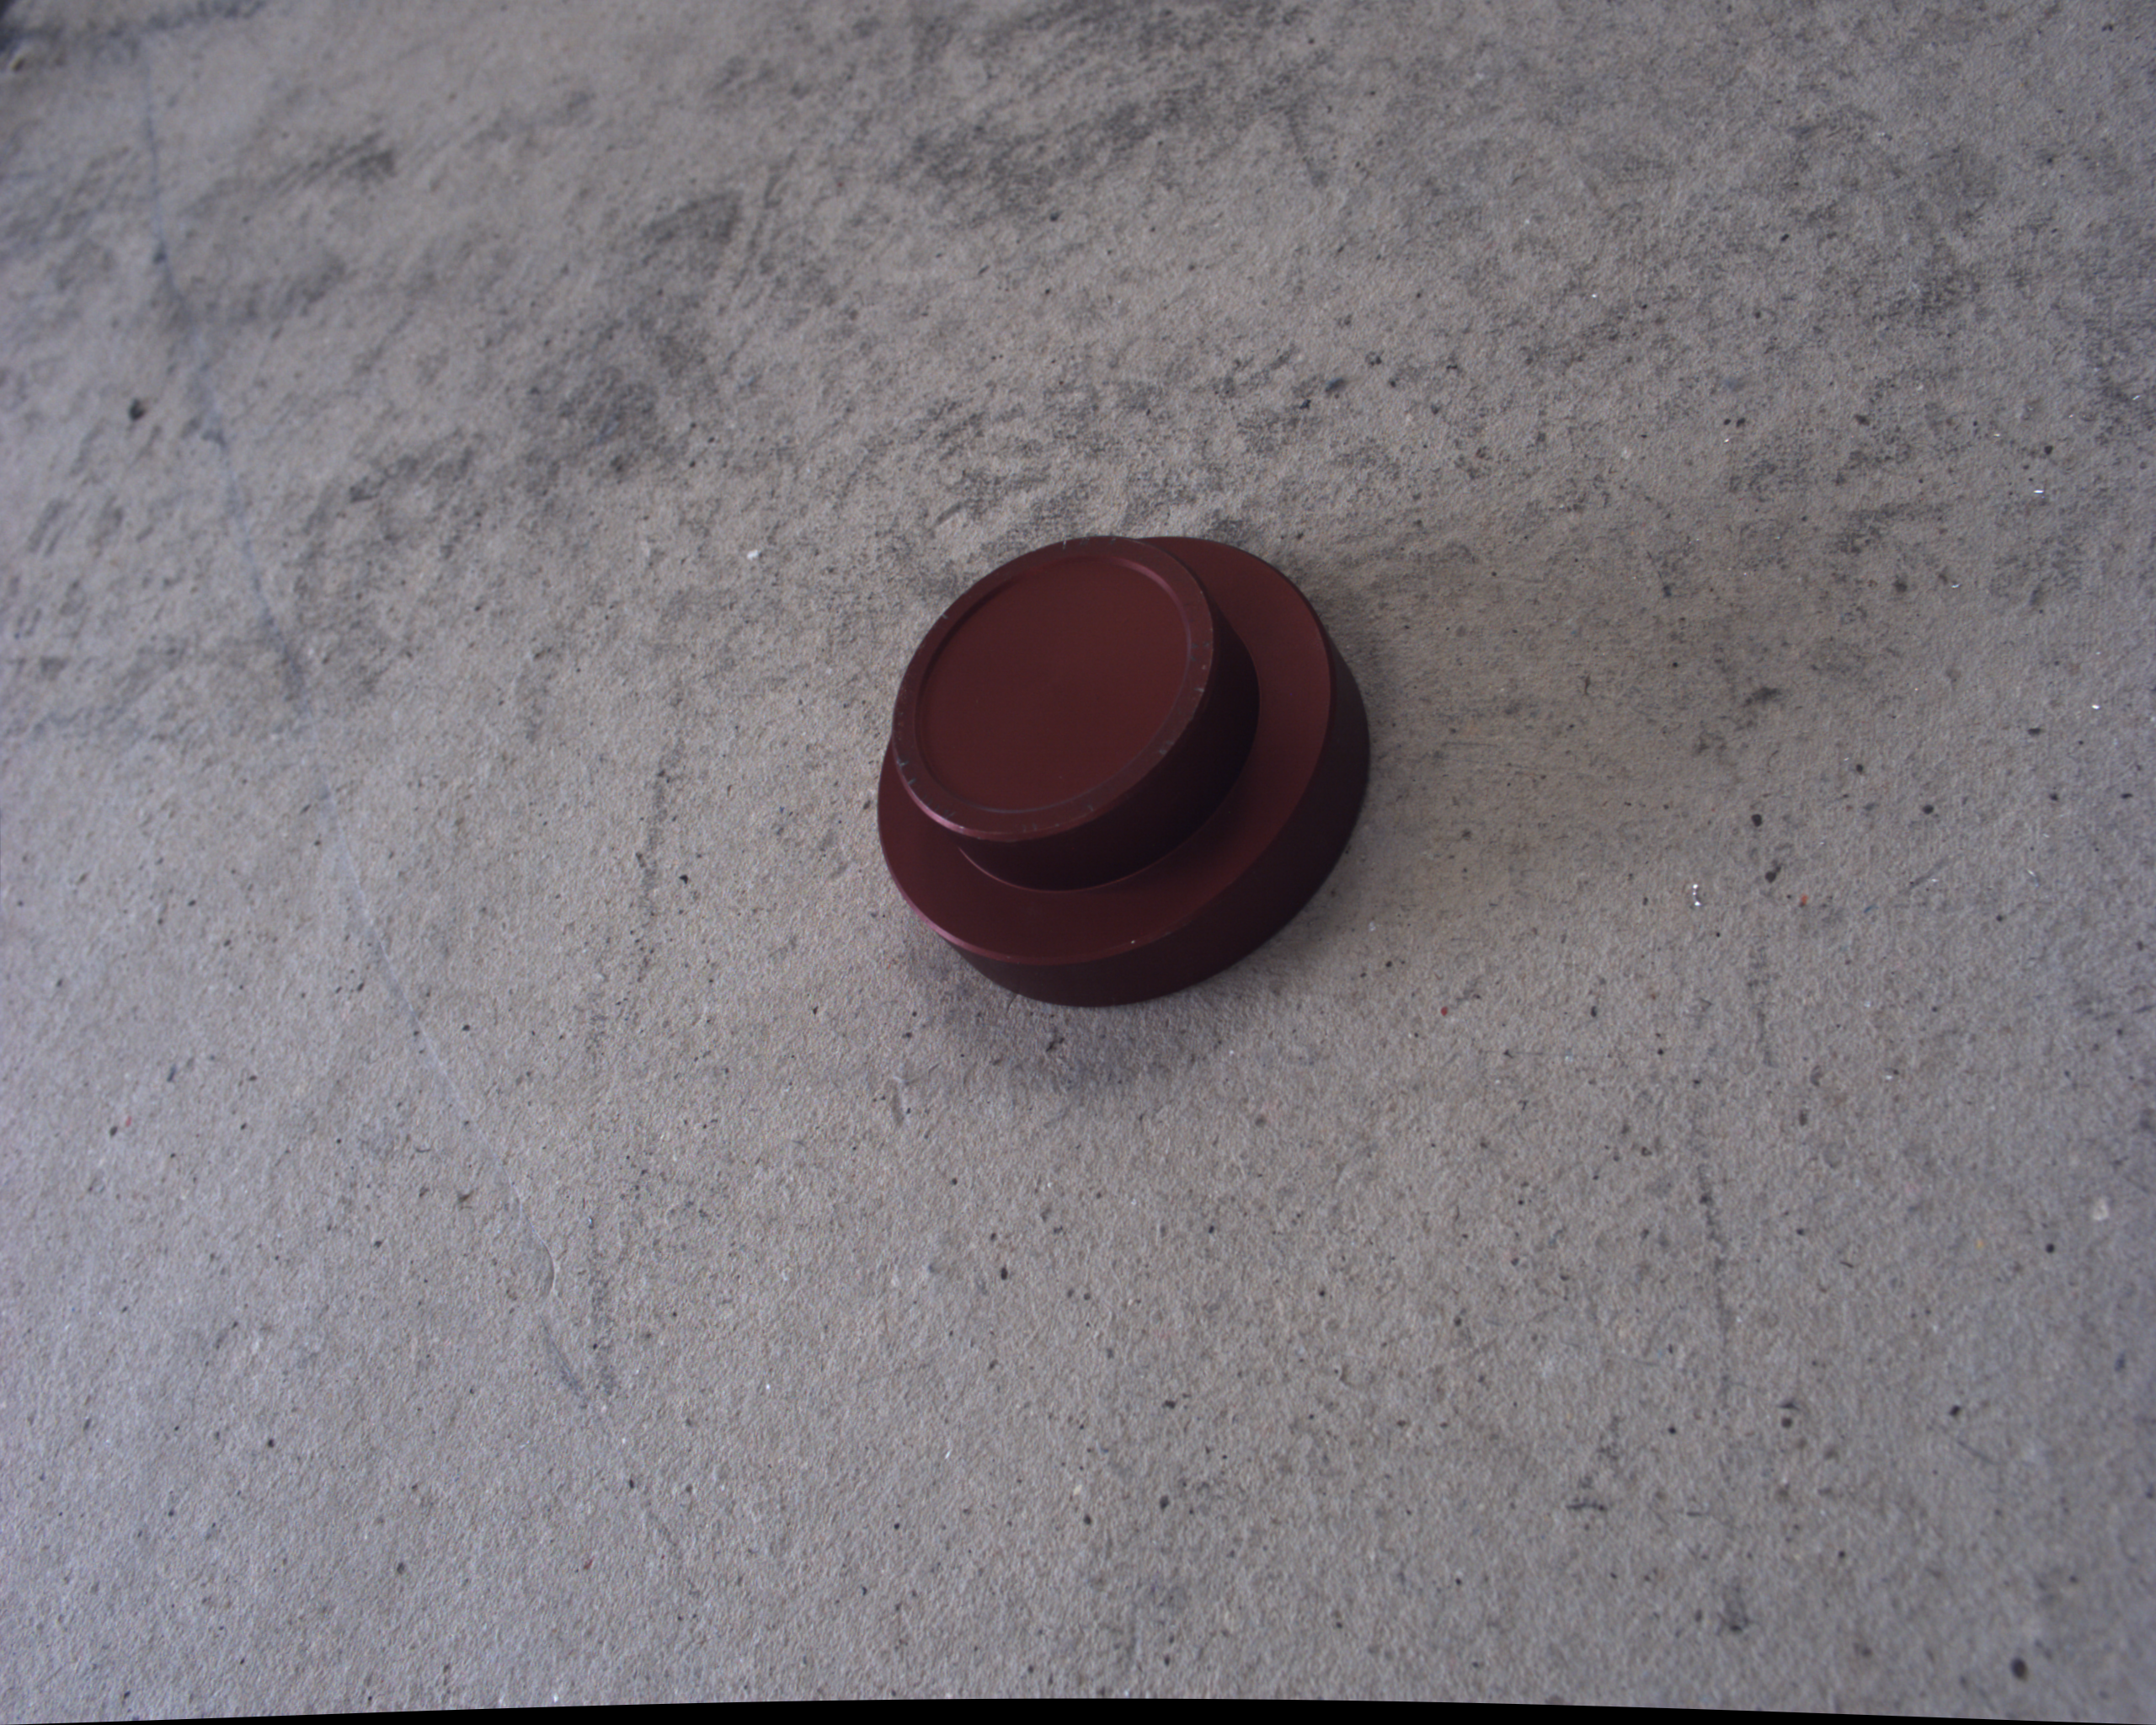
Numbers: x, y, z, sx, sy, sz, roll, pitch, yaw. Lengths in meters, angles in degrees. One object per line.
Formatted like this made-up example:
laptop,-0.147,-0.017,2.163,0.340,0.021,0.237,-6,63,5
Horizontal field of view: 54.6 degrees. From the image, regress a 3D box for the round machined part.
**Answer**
round machined part,0.004,-0.024,0.409,0.098,0.042,0.098,-13,56,21
